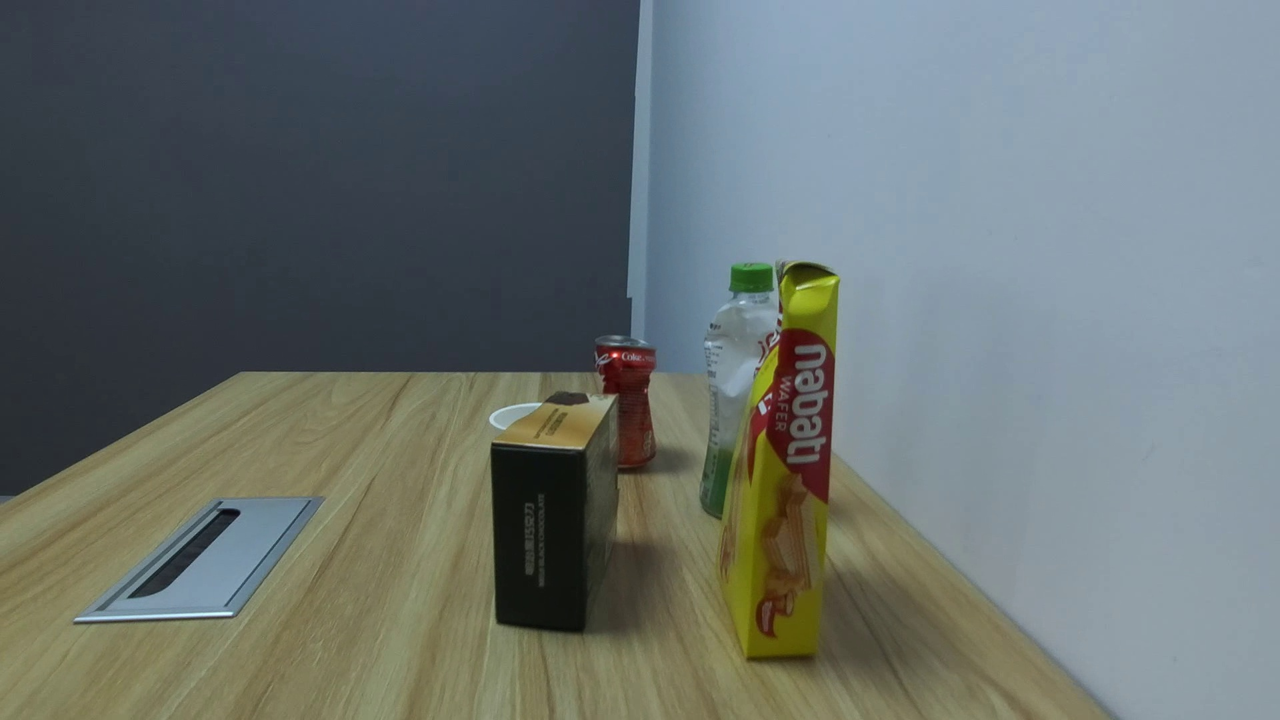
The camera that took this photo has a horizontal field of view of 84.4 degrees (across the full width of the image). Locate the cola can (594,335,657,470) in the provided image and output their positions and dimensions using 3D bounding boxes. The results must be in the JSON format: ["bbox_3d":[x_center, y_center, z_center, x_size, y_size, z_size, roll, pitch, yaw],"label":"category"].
[{"bbox_3d":[-0.016,0.037,0.634,0.065,0.112,0.069,5,14,14],"label":"cola can"}]

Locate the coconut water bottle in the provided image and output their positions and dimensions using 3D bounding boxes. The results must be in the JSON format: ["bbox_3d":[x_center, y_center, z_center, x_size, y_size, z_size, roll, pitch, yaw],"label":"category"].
[{"bbox_3d":[0.082,0.024,0.540,0.069,0.186,0.069,3,8,0],"label":"coconut water bottle"}]

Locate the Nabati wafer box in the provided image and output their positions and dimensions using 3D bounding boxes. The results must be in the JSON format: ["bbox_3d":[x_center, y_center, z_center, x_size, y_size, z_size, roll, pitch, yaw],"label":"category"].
[{"bbox_3d":[0.077,0.047,0.391,0.042,0.205,0.113,3,13,-3],"label":"Nabati wafer box"}]
